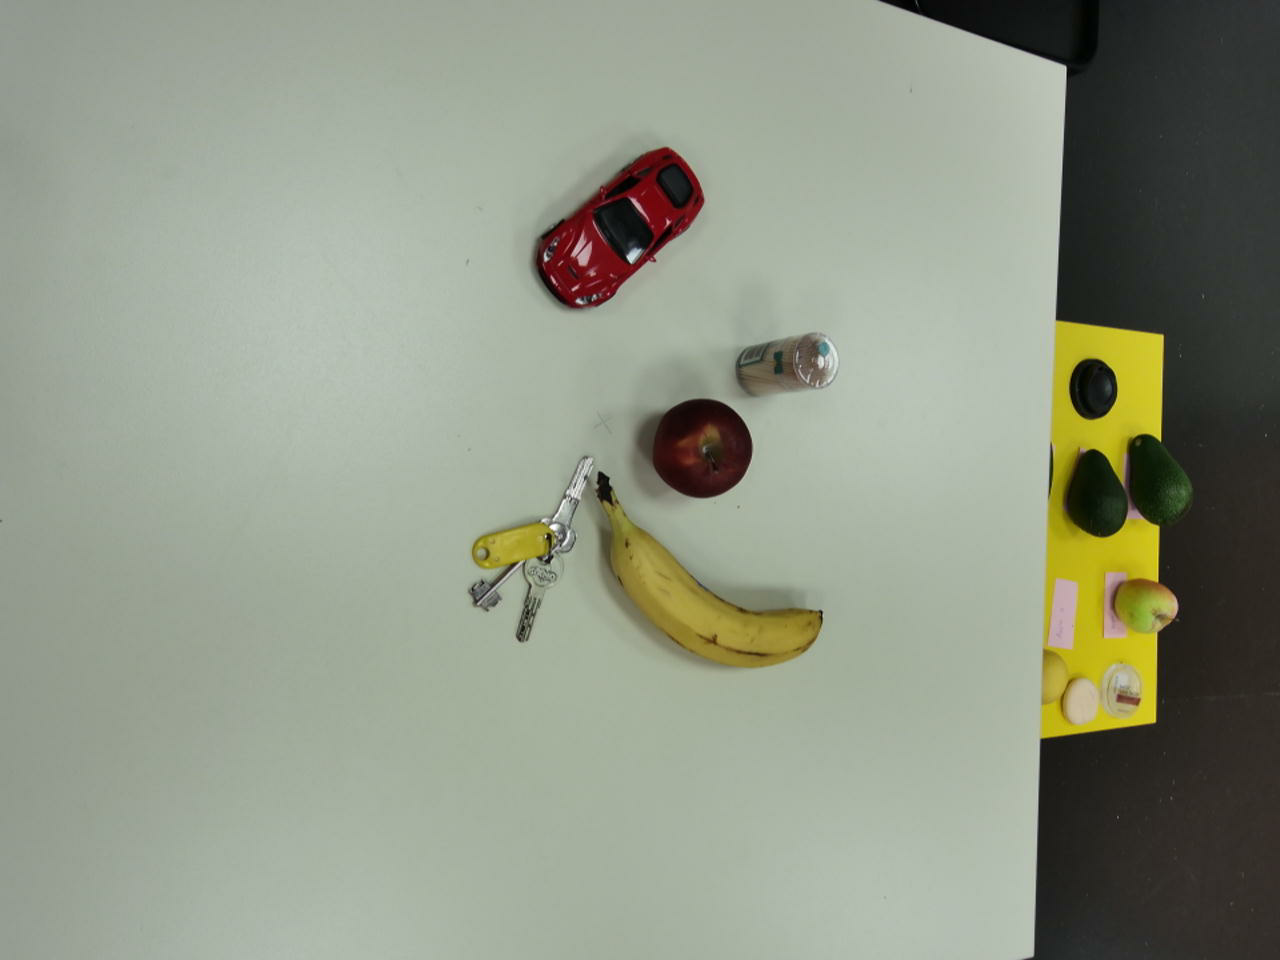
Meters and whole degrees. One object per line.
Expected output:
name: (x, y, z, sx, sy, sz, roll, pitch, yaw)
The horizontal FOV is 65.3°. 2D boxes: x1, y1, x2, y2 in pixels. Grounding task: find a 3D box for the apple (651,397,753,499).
apple: (0.043, -0.021, 0.695, 0.070, 0.072, 0.070, 0, 90, -28)
